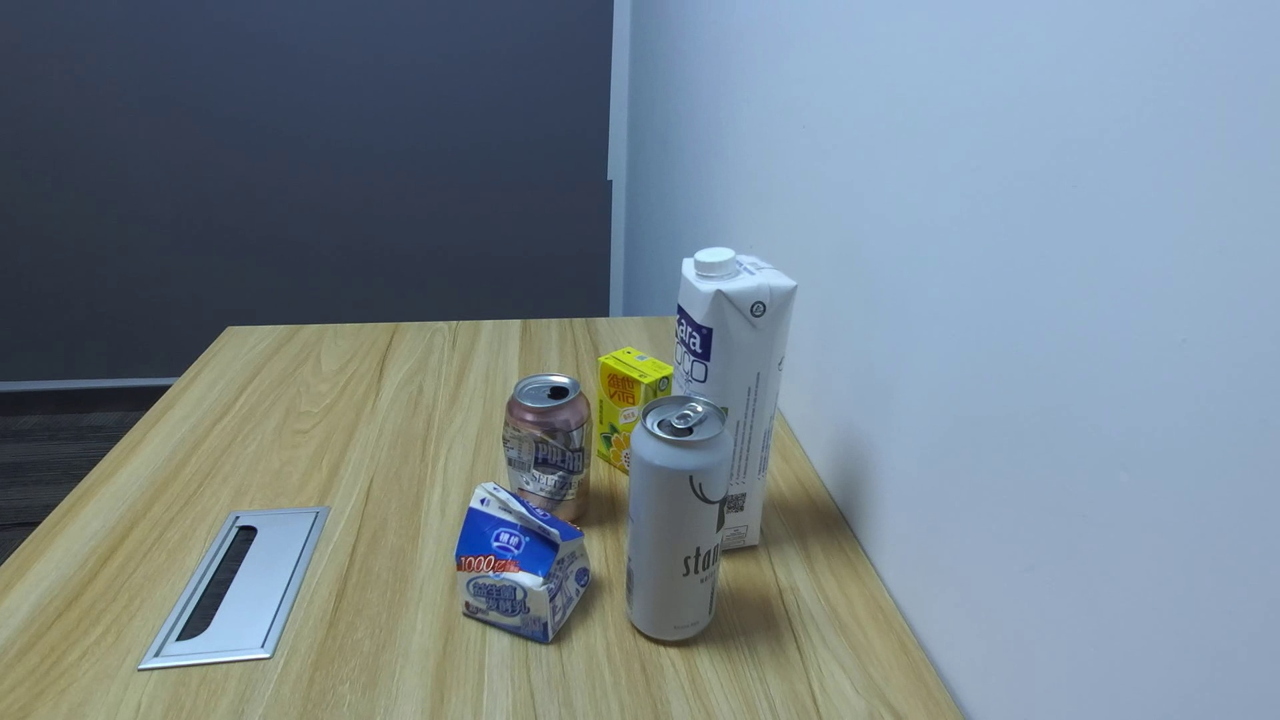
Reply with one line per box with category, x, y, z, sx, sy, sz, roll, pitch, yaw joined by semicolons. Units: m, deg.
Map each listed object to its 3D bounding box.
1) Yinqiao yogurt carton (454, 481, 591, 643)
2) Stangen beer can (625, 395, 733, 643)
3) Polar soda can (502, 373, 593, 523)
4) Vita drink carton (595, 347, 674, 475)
Yinqiao yogurt carton;-0.086;0.135;0.510;0.083;0.093;0.077;11;27;18
Stangen beer can;0.025;0.110;0.481;0.067;0.171;0.067;2;27;-1
Polar soda can;-0.074;0.078;0.597;0.067;0.122;0.074;-16;30;-29
Vita drink carton;-0.004;0.051;0.656;0.044;0.109;0.066;-20;34;-39
